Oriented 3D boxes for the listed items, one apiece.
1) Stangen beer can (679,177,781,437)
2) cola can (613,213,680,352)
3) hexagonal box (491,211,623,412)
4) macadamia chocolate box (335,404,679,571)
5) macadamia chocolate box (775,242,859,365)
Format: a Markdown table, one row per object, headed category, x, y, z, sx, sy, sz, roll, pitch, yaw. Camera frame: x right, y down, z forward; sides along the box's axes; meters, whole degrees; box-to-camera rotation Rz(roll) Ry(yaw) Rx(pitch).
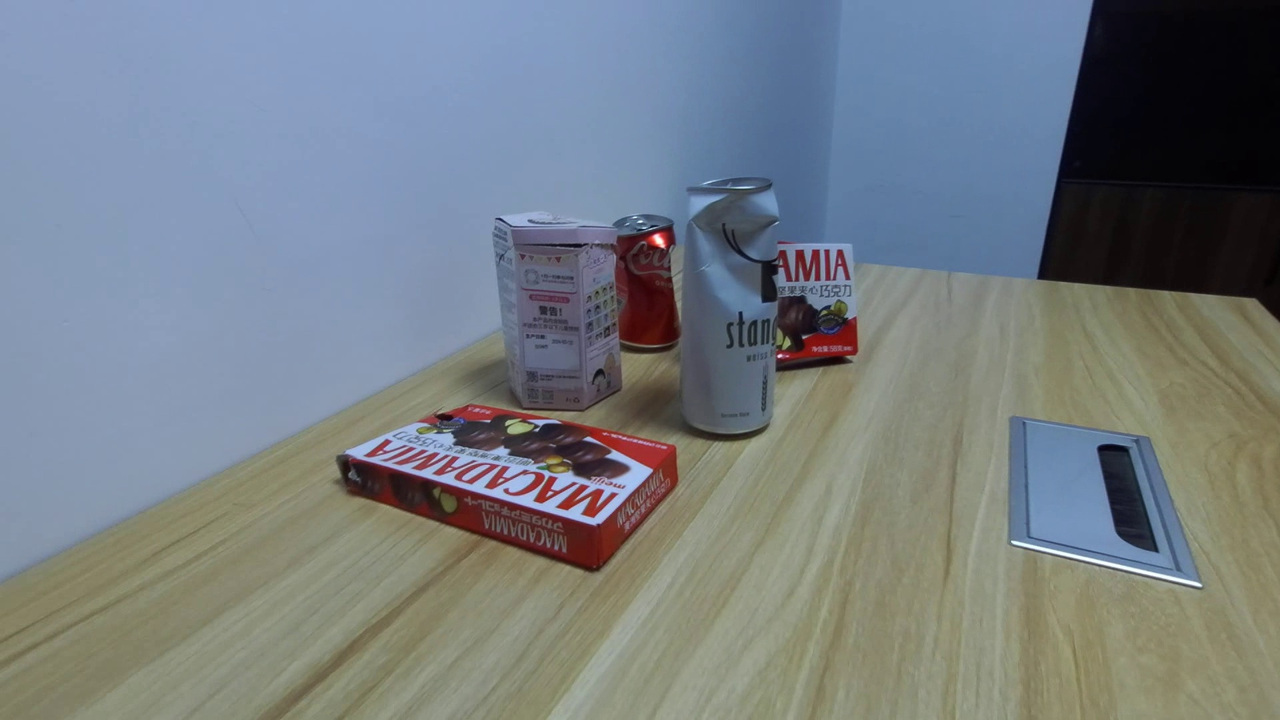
| category | x | y | z | sx | sy | sz | roll | pitch | yaw |
| --- | --- | --- | --- | --- | --- | --- | --- | --- | --- |
| Stangen beer can | 0.057 | -0.033 | 0.466 | 0.066 | 0.166 | 0.066 | -5 | 21 | -5 |
| cola can | 0.004 | -0.067 | 0.628 | 0.065 | 0.112 | 0.069 | -1 | 17 | 4 |
| hexagonal box | -0.060 | -0.039 | 0.527 | 0.092 | 0.135 | 0.085 | 2 | 22 | 9 |
| macadamia chocolate box | -0.080 | 0.063 | 0.424 | 0.186 | 0.027 | 0.103 | 10 | 22 | 25 |
| macadamia chocolate box | 0.117 | -0.051 | 0.579 | 0.127 | 0.112 | 0.056 | -6 | 22 | -10 |
